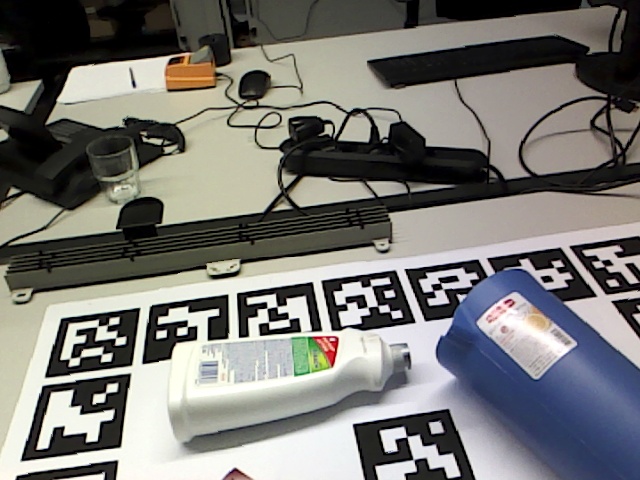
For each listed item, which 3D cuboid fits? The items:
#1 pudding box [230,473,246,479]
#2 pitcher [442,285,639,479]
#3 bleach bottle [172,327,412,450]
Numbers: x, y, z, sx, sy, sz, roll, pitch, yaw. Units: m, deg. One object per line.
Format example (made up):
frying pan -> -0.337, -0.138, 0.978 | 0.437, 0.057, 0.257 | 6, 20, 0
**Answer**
pudding box -> -0.061, 0.262, 0.514 | 0.114, 0.038, 0.089 | 24, 40, 31
pitcher -> 0.245, 0.164, 0.573 | 0.187, 0.133, 0.244 | 10, 27, -43
bleach bottle -> -0.025, 0.147, 0.653 | 0.250, 0.067, 0.103 | -8, 41, -7
